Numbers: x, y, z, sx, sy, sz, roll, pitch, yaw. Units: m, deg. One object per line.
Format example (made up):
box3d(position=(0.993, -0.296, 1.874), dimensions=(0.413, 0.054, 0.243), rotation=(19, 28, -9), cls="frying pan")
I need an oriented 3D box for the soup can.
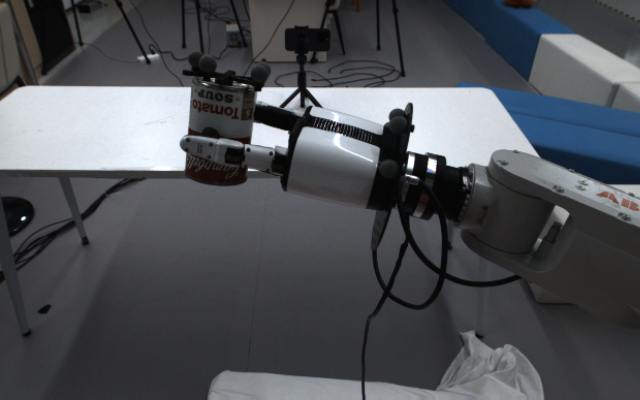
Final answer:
box3d(position=(-0.104, -0.075, 0.511), dimensions=(0.067, 0.101, 0.067), rotation=(9, 20, -3), cls="soup can")
